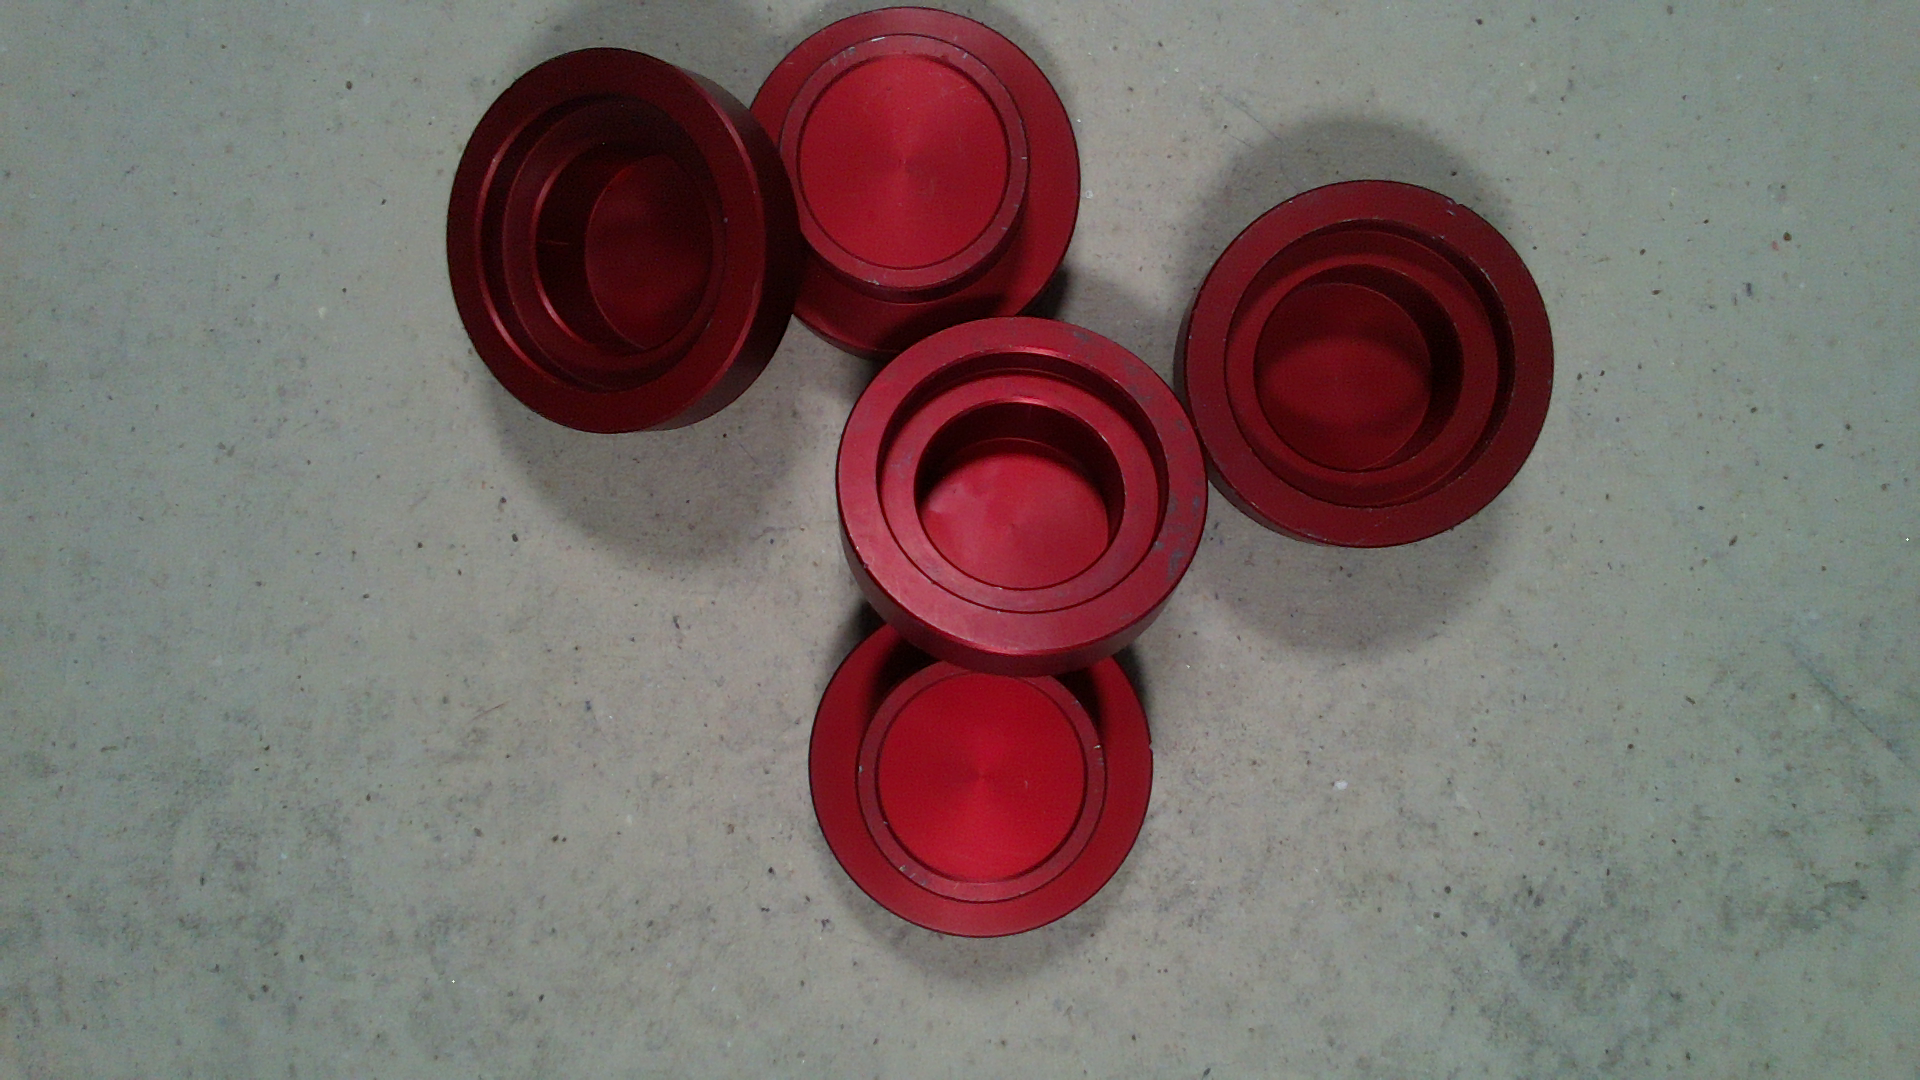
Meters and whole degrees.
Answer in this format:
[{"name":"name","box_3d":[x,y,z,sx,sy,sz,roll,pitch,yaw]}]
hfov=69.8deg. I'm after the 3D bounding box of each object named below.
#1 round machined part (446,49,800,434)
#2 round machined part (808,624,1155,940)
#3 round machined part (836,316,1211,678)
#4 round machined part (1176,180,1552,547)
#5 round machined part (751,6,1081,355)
[{"name":"round machined part","box_3d":[-0.087,-0.079,0.376,0.098,0.042,0.098,3,98,21]},{"name":"round machined part","box_3d":[0.006,0.064,0.387,0.098,0.042,0.098,0,90,0]},{"name":"round machined part","box_3d":[0.016,-0.008,0.376,0.098,0.042,0.098,1,67,-2]},{"name":"round machined part","box_3d":[0.109,-0.047,0.387,0.098,0.042,0.098,0,90,0]},{"name":"round machined part","box_3d":[-0.015,-0.101,0.386,0.098,0.042,0.098,0,90,0]}]
